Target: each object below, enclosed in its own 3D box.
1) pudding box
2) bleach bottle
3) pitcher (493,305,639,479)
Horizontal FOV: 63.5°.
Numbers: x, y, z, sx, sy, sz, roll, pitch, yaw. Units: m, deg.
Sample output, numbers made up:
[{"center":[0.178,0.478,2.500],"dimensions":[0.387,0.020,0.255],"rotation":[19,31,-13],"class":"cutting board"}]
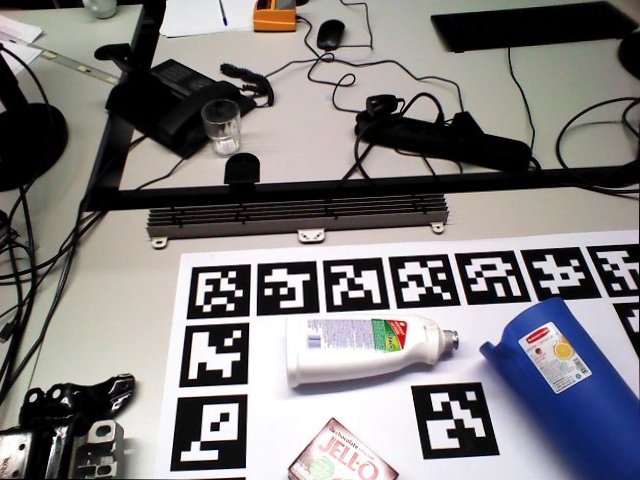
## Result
[{"center":[0.037,0.300,0.639],"dimensions":[0.114,0.039,0.089],"rotation":[37,57,24],"class":"pudding box"},{"center":[0.088,0.154,0.737],"dimensions":[0.251,0.068,0.102],"rotation":[-5,57,-3],"class":"bleach bottle"},{"center":[0.353,0.214,0.660],"dimensions":[0.188,0.134,0.242],"rotation":[-1,49,-43],"class":"pitcher"}]
